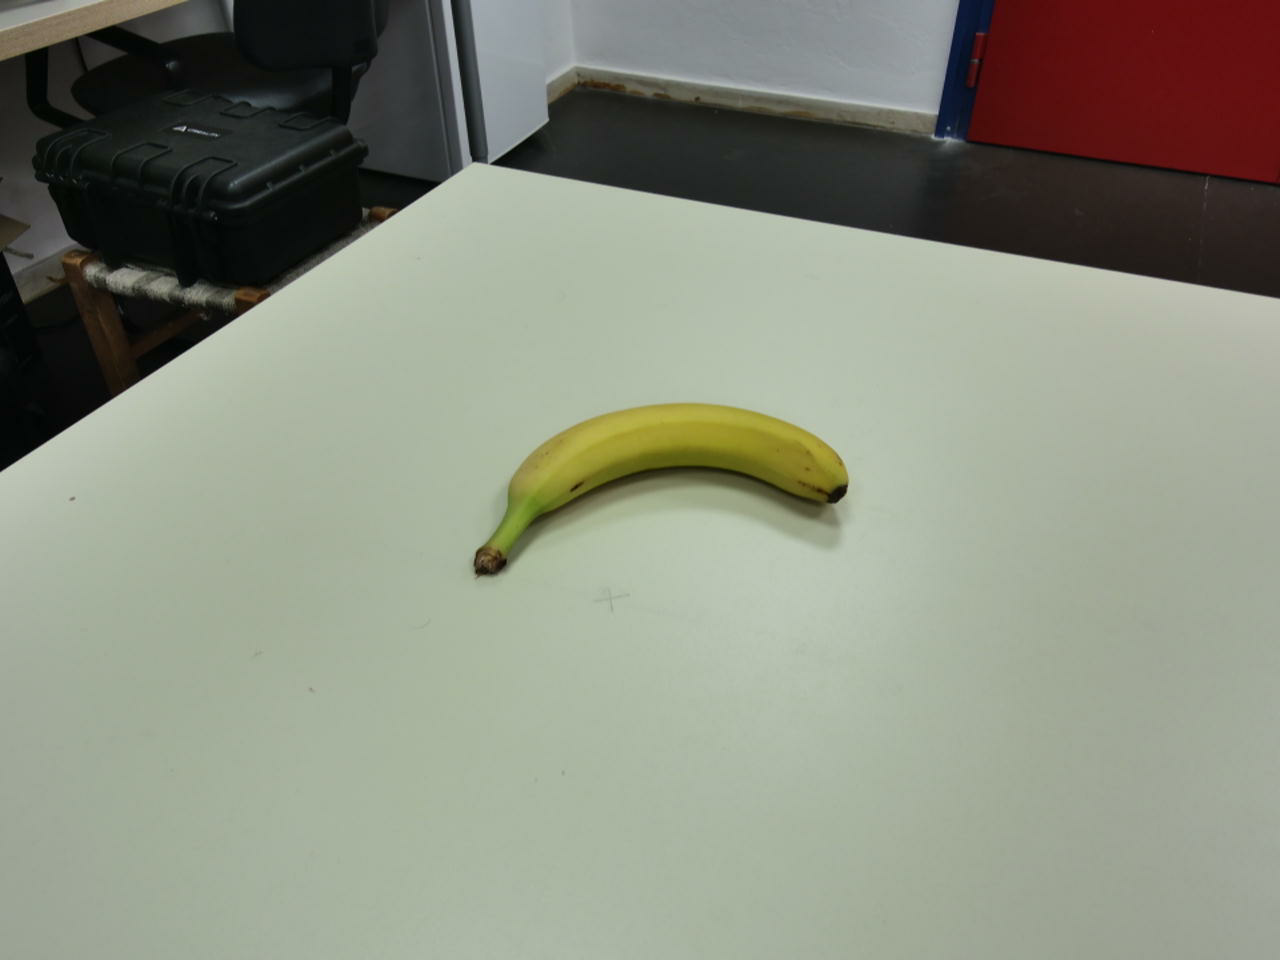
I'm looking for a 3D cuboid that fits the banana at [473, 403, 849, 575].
[{"bbox_3d":[0.005,-0.006,0.538,0.196,0.041,0.094,-7,38,-8],"label":"banana"}]
